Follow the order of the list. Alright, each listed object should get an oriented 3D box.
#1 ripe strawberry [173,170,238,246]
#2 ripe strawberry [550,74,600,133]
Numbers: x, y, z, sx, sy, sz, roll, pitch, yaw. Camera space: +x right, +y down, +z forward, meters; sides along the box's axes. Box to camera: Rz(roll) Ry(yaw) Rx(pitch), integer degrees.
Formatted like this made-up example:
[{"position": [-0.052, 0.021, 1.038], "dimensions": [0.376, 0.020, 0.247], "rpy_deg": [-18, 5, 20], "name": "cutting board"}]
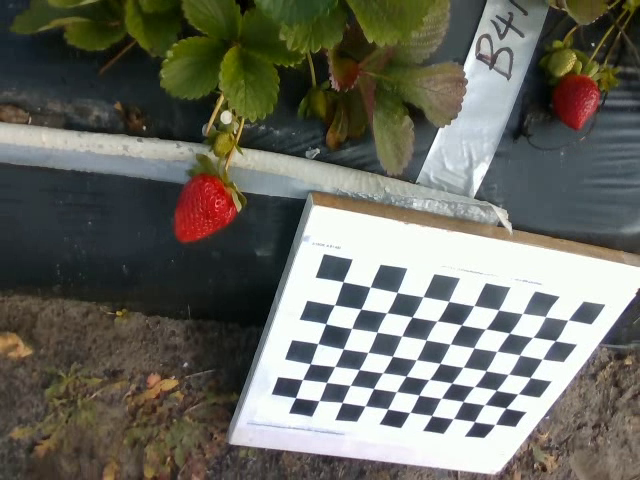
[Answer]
[{"position": [-0.076, -0.019, 0.391], "dimensions": [0.048, 0.053, 0.030], "rpy_deg": [48, -6, -33], "name": "ripe strawberry"}, {"position": [0.178, -0.090, 0.425], "dimensions": [0.037, 0.048, 0.030], "rpy_deg": [23, -24, -21], "name": "ripe strawberry"}]
